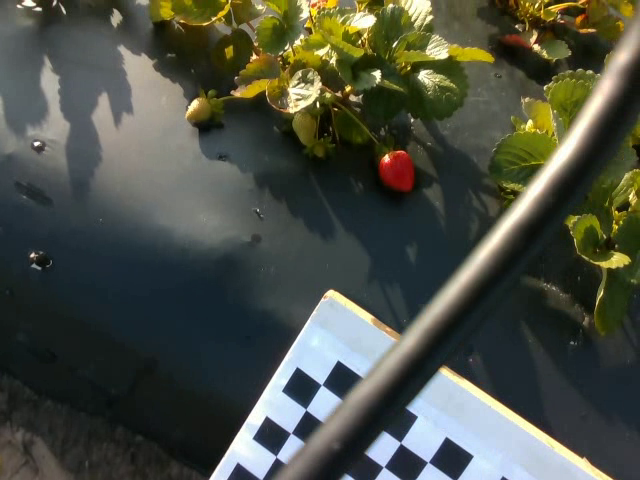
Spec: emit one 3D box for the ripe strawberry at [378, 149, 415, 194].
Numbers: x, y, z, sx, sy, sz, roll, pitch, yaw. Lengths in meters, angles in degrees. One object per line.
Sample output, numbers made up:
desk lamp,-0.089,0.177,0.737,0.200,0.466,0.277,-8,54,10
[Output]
ripe strawberry,0.066,-0.053,0.469,0.030,0.045,0.033,-28,-32,19
